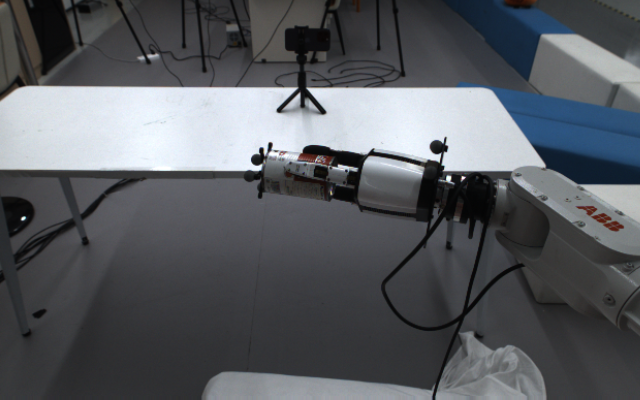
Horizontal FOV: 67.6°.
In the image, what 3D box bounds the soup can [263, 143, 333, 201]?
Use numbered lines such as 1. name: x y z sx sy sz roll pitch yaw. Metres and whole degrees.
1. soup can: -0.028 -0.038 0.727 0.101 0.067 0.067 7 35 11
